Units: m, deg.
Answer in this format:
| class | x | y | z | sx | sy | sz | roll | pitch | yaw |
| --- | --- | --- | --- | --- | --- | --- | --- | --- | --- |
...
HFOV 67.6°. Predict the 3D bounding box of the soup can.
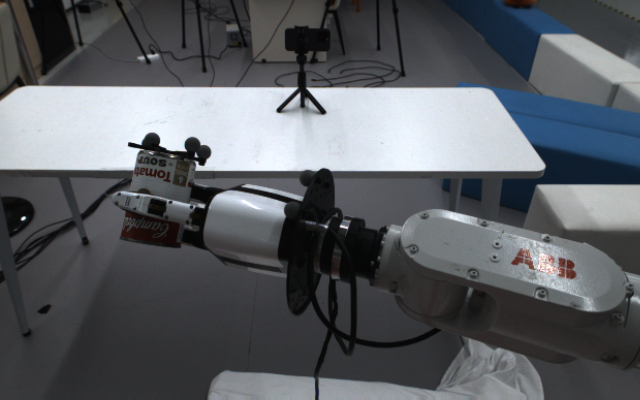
| class | x | y | z | sx | sy | sz | roll | pitch | yaw |
| --- | --- | --- | --- | --- | --- | --- | --- | --- | --- |
| soup can | -0.184 | 0.001 | 0.558 | 0.067 | 0.101 | 0.067 | 9 | -5 | 1 |
